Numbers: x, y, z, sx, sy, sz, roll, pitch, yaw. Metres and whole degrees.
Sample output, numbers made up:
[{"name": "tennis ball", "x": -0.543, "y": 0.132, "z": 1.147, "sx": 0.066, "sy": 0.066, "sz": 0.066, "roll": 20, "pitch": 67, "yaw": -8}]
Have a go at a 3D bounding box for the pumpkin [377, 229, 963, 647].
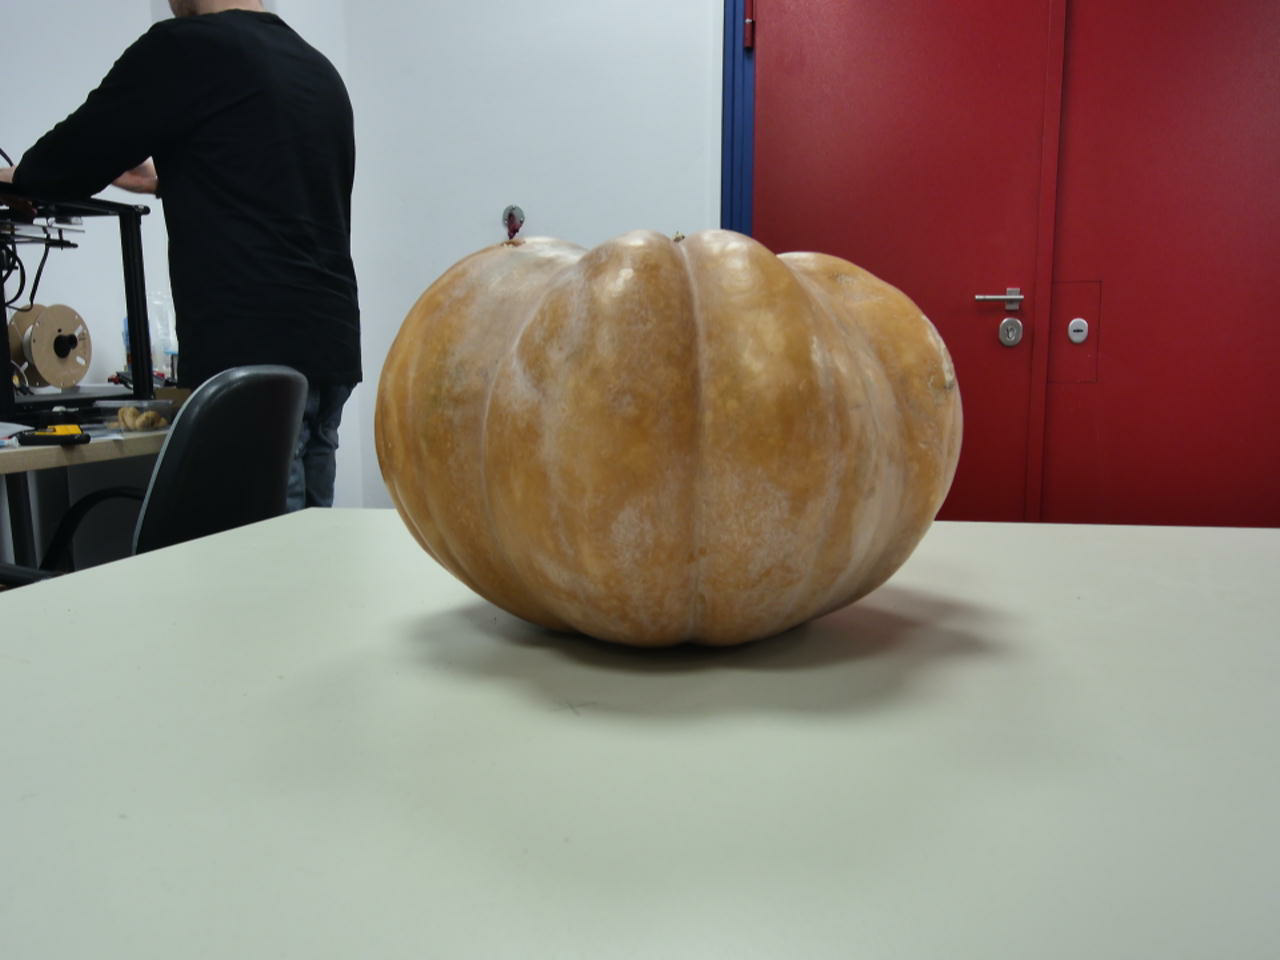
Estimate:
[{"name": "pumpkin", "x": 0.012, "y": -0.023, "z": 0.469, "sx": 0.277, "sy": 0.181, "sz": 0.277, "roll": 0, "pitch": 5, "yaw": 0}]
